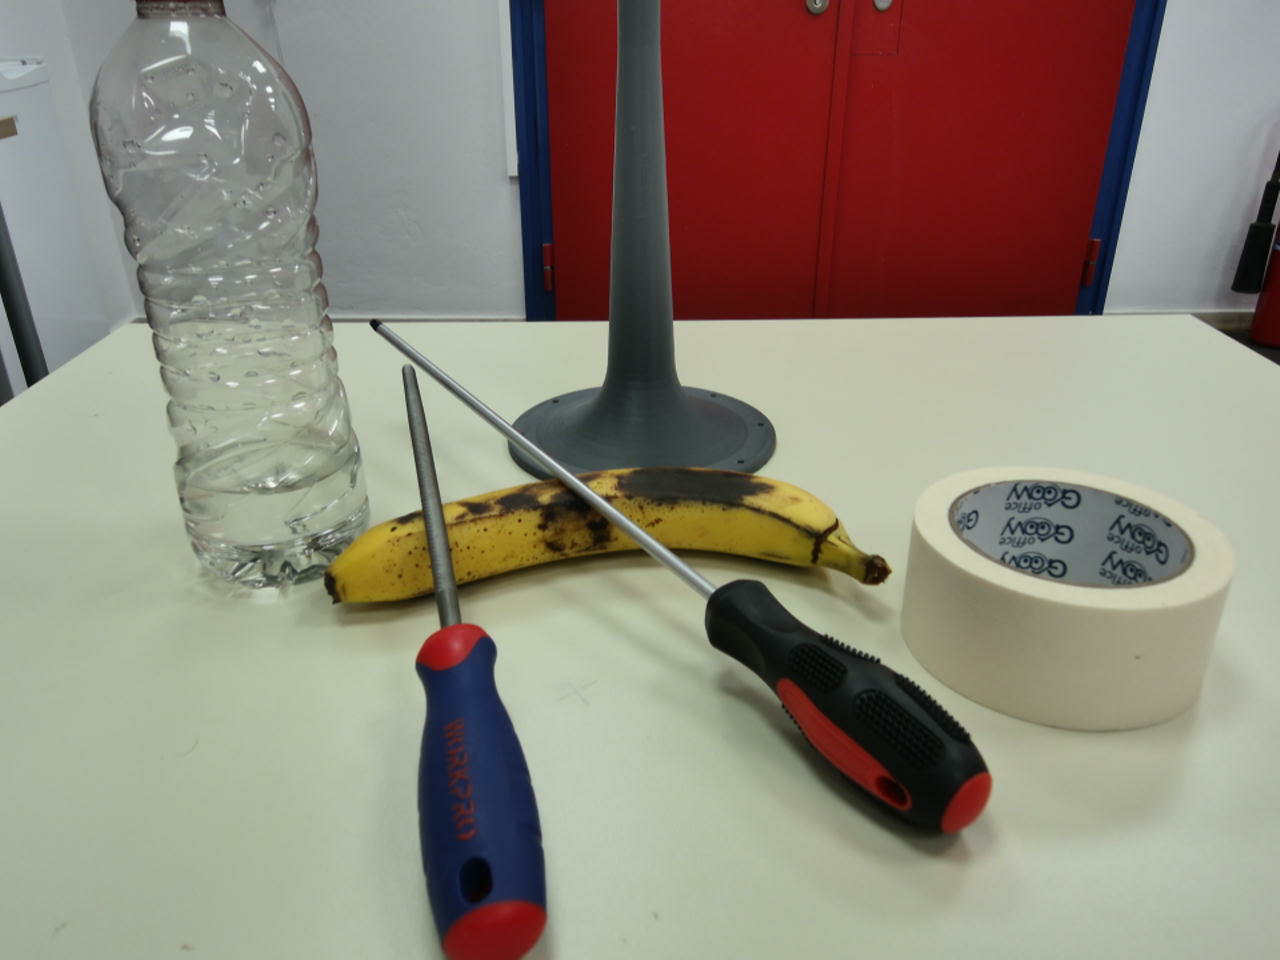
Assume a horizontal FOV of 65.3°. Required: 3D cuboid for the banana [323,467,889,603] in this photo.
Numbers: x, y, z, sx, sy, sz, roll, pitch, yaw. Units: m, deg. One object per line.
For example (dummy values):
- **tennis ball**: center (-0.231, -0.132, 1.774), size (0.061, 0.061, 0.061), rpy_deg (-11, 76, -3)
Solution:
- **banana**: center (-0.014, 0.022, 0.425), size (0.222, 0.037, 0.084), rpy_deg (0, 24, 0)
